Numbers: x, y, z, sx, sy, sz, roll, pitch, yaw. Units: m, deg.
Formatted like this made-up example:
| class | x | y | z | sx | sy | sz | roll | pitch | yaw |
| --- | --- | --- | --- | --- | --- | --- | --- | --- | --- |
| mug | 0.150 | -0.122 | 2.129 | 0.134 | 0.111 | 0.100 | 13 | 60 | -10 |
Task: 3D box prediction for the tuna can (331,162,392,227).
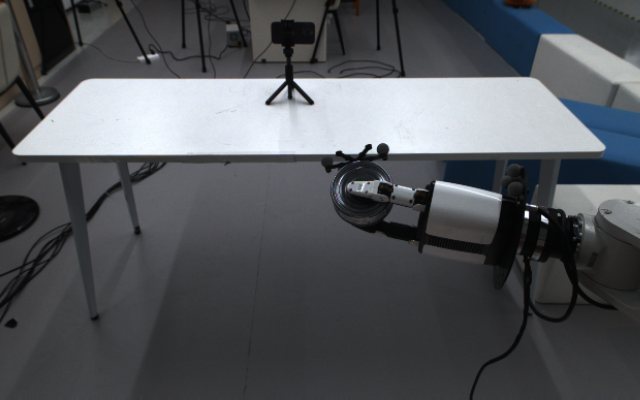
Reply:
| class | x | y | z | sx | sy | sz | roll | pitch | yaw |
| --- | --- | --- | --- | --- | --- | --- | --- | --- | --- |
| tuna can | 0.062 | -0.005 | 0.654 | 0.085 | 0.034 | 0.085 | -4 | 68 | 9 |
